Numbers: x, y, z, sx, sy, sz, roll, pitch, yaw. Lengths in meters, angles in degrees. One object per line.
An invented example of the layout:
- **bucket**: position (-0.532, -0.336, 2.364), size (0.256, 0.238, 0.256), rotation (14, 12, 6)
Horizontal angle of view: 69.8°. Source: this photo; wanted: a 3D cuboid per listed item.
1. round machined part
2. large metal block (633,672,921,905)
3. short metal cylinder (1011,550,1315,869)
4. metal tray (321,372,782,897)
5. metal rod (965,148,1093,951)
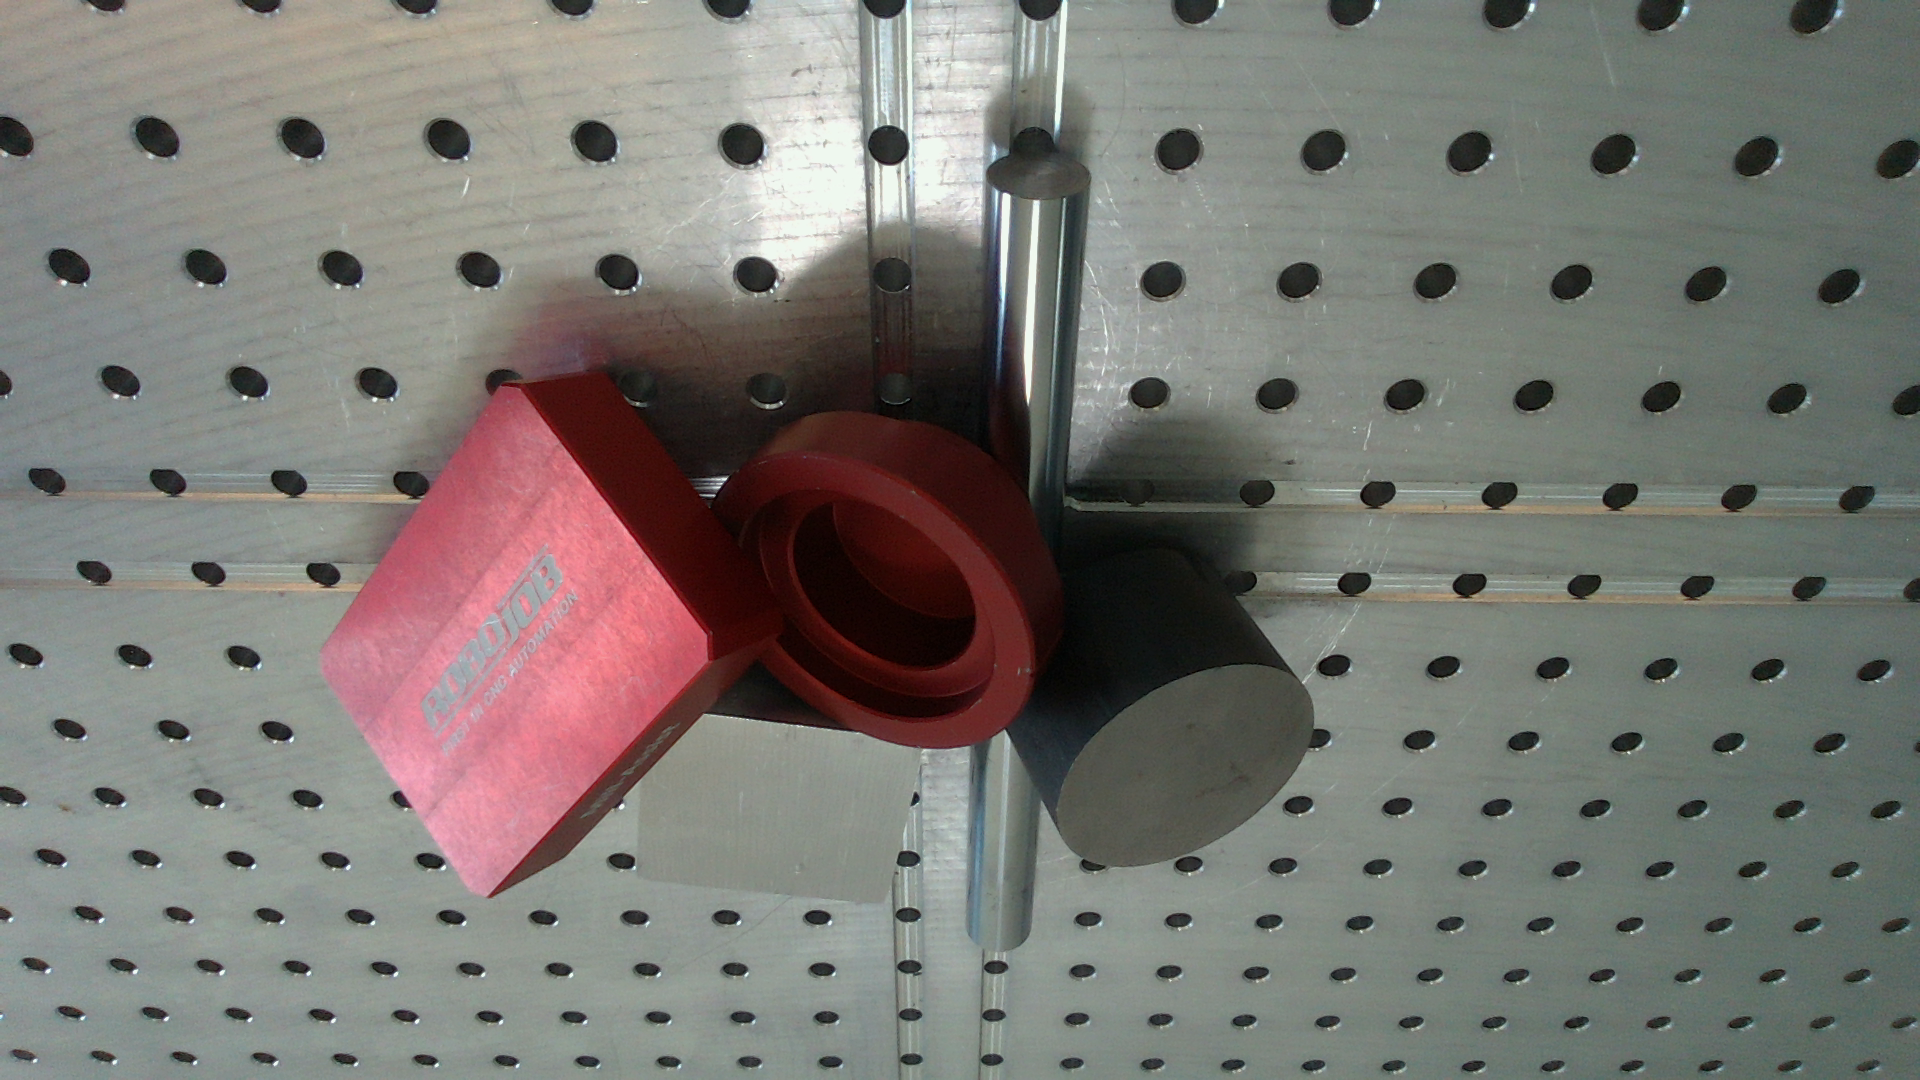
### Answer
- **round machined part**: position (-0.017, 0.007, 0.372), size (0.098, 0.042, 0.098), rotation (17, 132, 20)
- **large metal block**: position (-0.057, 0.066, 0.433), size (0.080, 0.050, 0.080), rotation (8, 130, -7)
- **short metal cylinder**: position (0.055, 0.050, 0.403), size (0.080, 0.050, 0.080), rotation (-14, 132, -15)
- **metal tray**: position (-0.117, 0.028, 0.381), size (0.090, 0.030, 0.130), rotation (51, 121, 9)
- **metal rod**: position (0.016, 0.028, 0.418), size (0.025, 0.025, 0.300), rotation (1, 130, -1)
